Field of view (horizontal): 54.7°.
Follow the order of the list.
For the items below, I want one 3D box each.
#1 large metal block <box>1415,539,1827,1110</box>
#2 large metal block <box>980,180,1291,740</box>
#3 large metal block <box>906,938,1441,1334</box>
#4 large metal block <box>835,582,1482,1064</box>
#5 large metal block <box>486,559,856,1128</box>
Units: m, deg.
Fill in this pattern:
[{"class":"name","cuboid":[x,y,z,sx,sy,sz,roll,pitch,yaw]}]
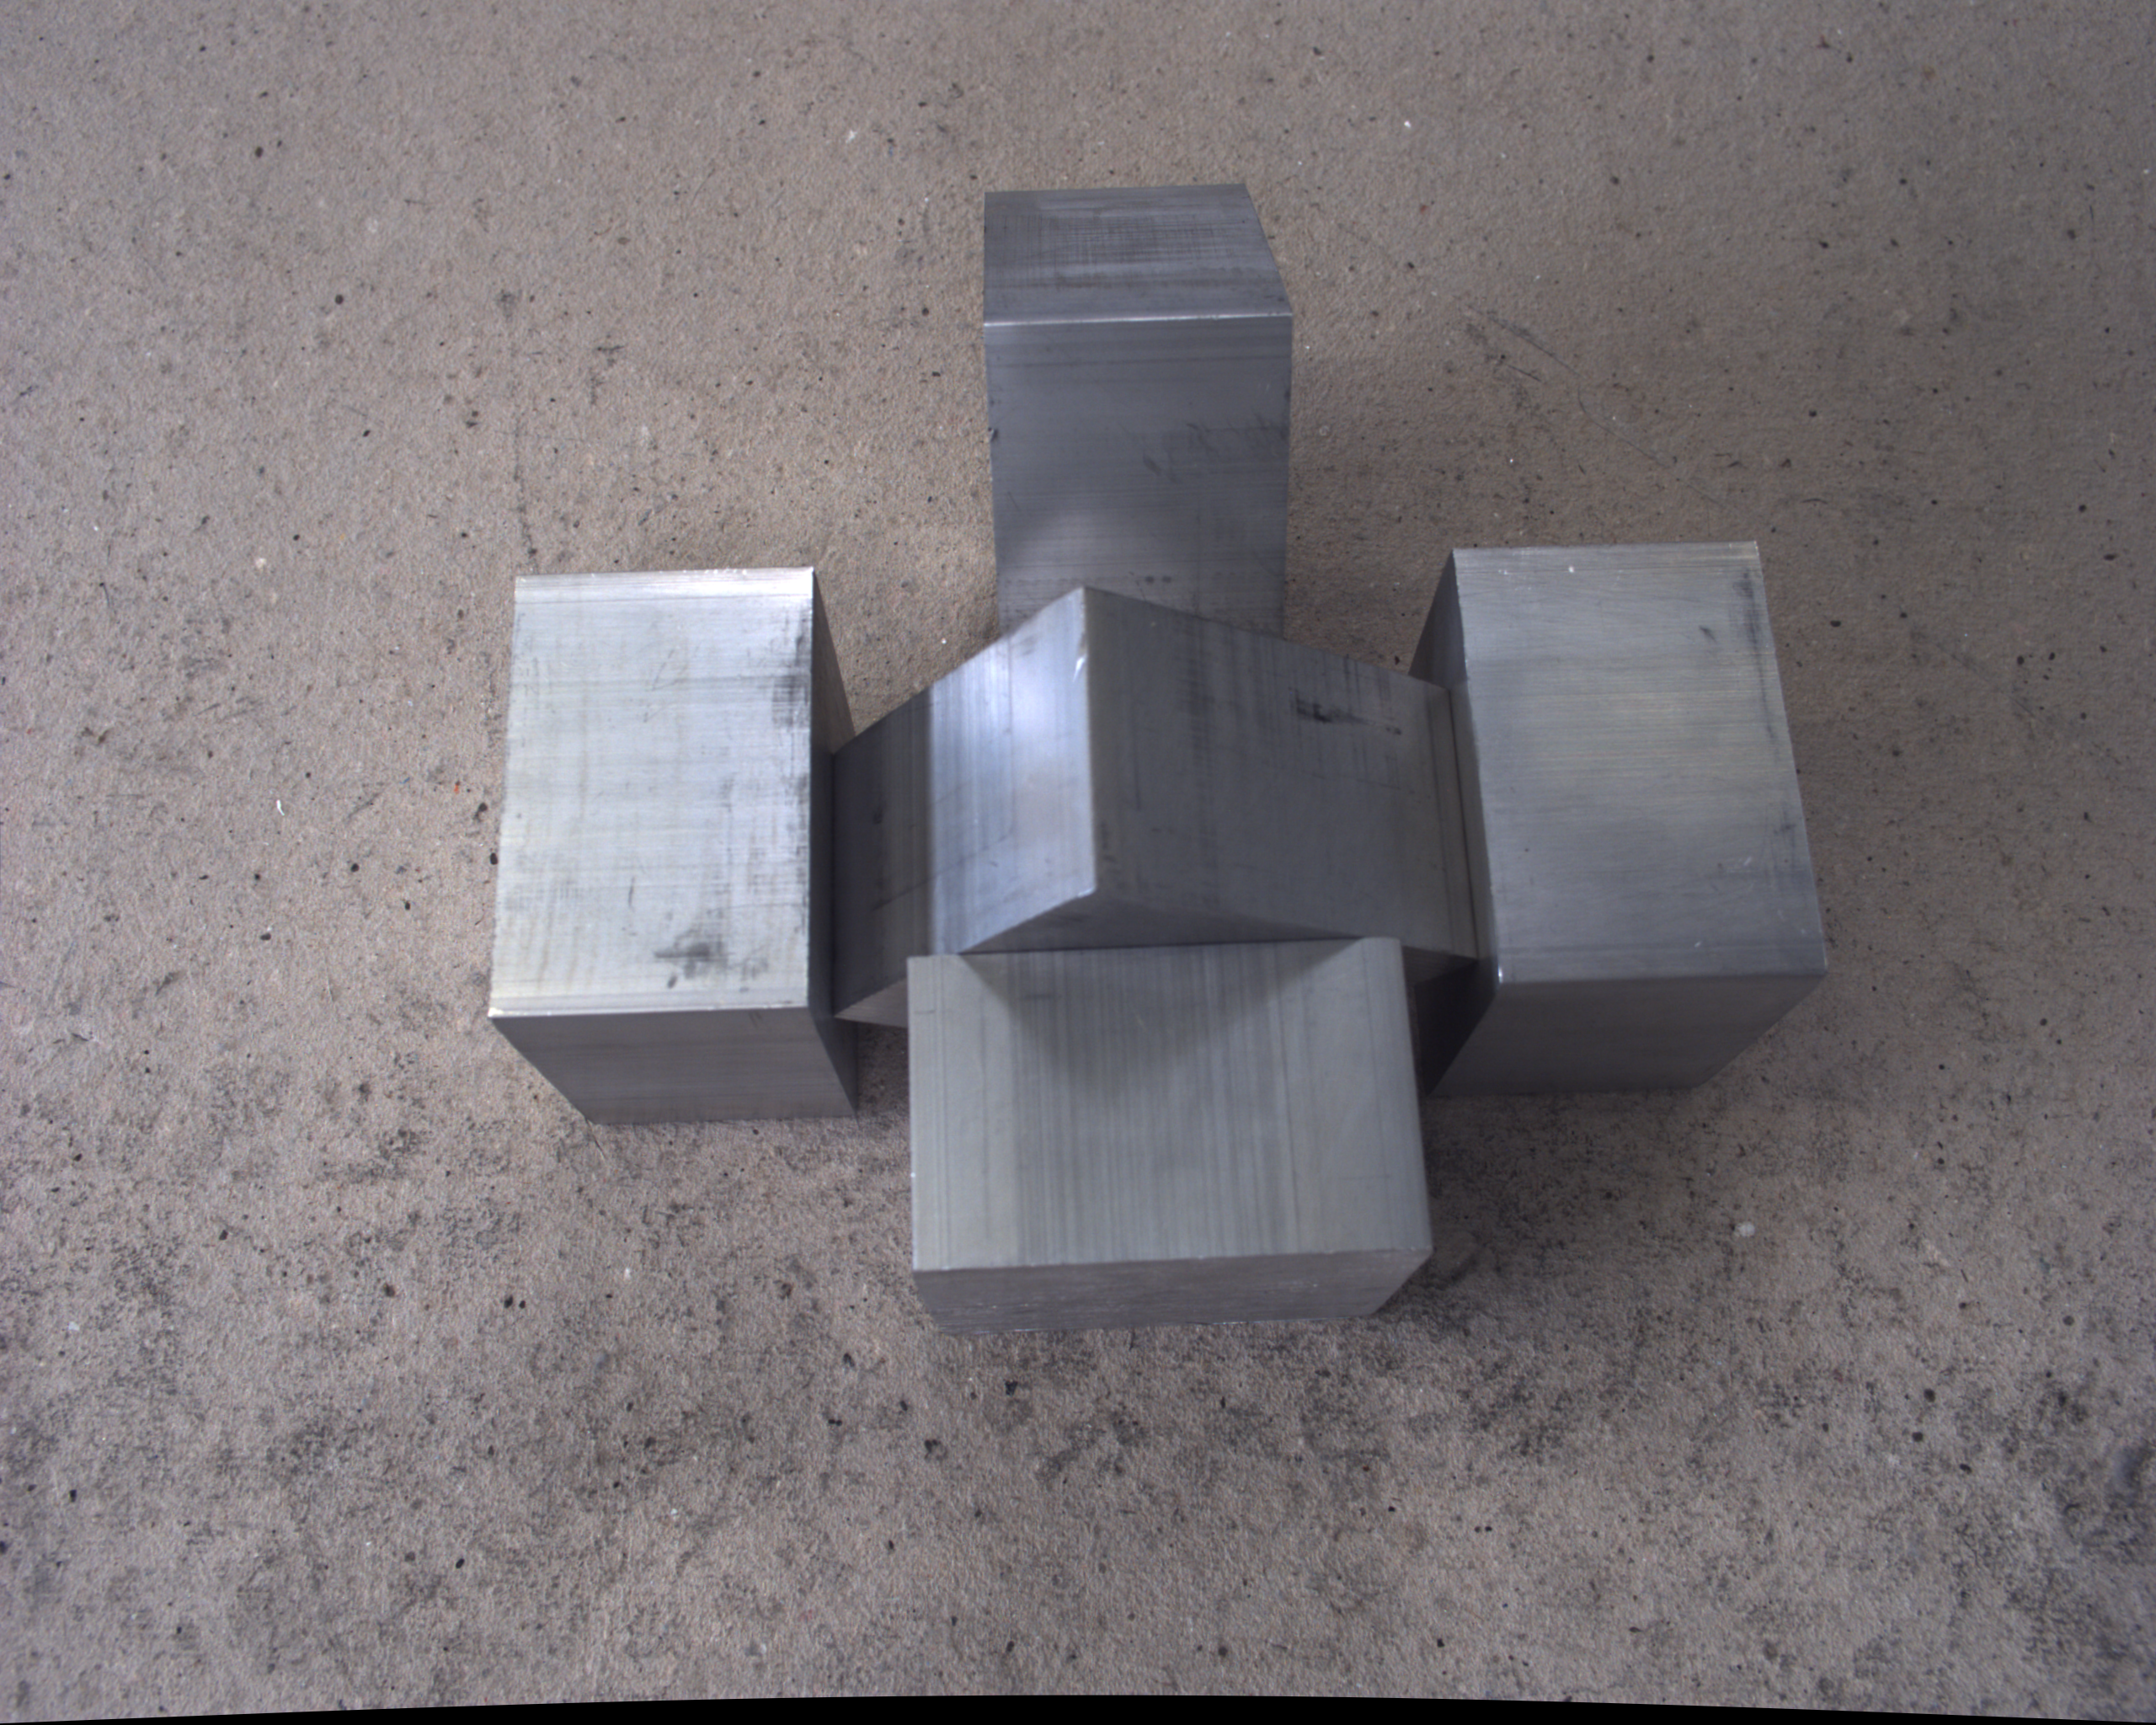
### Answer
[{"class":"large metal block","cuboid":[0.092,-0.004,0.382,0.050,0.080,0.080,-2,69,-2]},{"class":"large metal block","cuboid":[0.009,-0.077,0.392,0.050,0.079,0.080,-3,33,-1]},{"class":"large metal block","cuboid":[0.014,0.051,0.362,0.081,0.080,0.050,-2,70,-1]},{"class":"large metal block","cuboid":[0.012,-0.001,0.365,0.081,0.080,0.050,12,65,-34]},{"class":"large metal block","cuboid":[-0.069,0.000,0.379,0.050,0.080,0.080,-2,70,-1]}]
